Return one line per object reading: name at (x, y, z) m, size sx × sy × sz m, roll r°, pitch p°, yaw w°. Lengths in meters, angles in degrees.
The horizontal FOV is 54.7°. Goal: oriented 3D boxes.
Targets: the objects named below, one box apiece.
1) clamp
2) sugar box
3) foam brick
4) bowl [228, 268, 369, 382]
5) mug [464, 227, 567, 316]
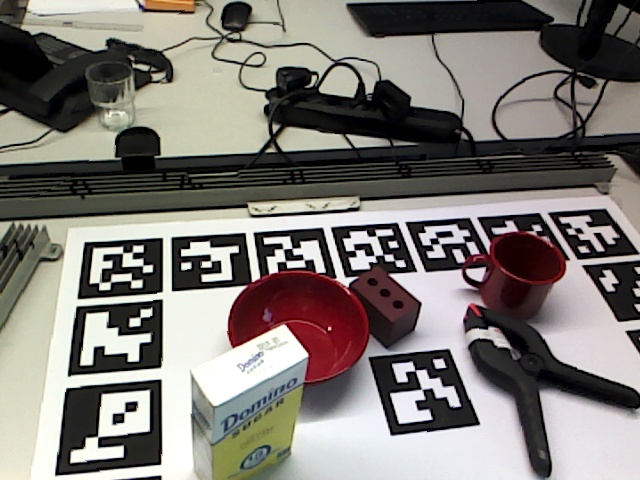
clamp at (0.236, 0.145, 0.719) m, size 0.165 × 0.036 × 0.204 m, roll -24°, pitch 53°, yaw -25°
sugar box at (-0.068, 0.164, 0.575) m, size 0.092 × 0.176 × 0.045 m, roll -23°, pitch 54°, yaw -29°
foam brick at (0.082, 0.086, 0.768) m, size 0.052 × 0.051 × 0.078 m, roll -27°, pitch 54°, yaw -28°
bowl at (-0.026, 0.108, 0.722) m, size 0.161 × 0.055 × 0.162 m, roll 4°, pitch 44°, yaw -4°
mug at (0.245, 0.040, 0.801) m, size 0.117 × 0.081 × 0.093 m, roll 16°, pitch 45°, yaw 5°
